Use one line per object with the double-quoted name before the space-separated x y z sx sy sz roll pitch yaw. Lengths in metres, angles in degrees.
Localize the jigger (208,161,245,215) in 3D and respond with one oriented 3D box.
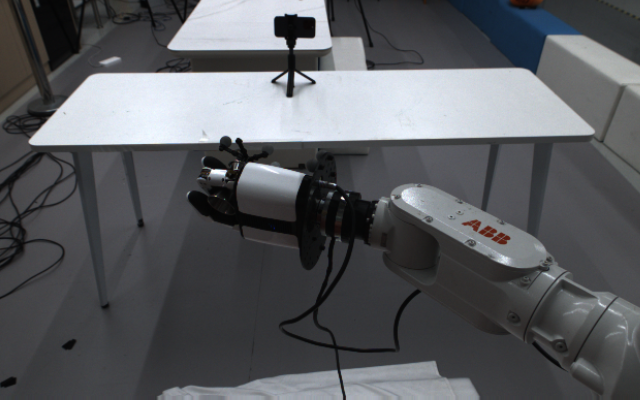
"jigger" -0.121 -0.019 0.681 0.043 0.043 0.071 13 58 16
